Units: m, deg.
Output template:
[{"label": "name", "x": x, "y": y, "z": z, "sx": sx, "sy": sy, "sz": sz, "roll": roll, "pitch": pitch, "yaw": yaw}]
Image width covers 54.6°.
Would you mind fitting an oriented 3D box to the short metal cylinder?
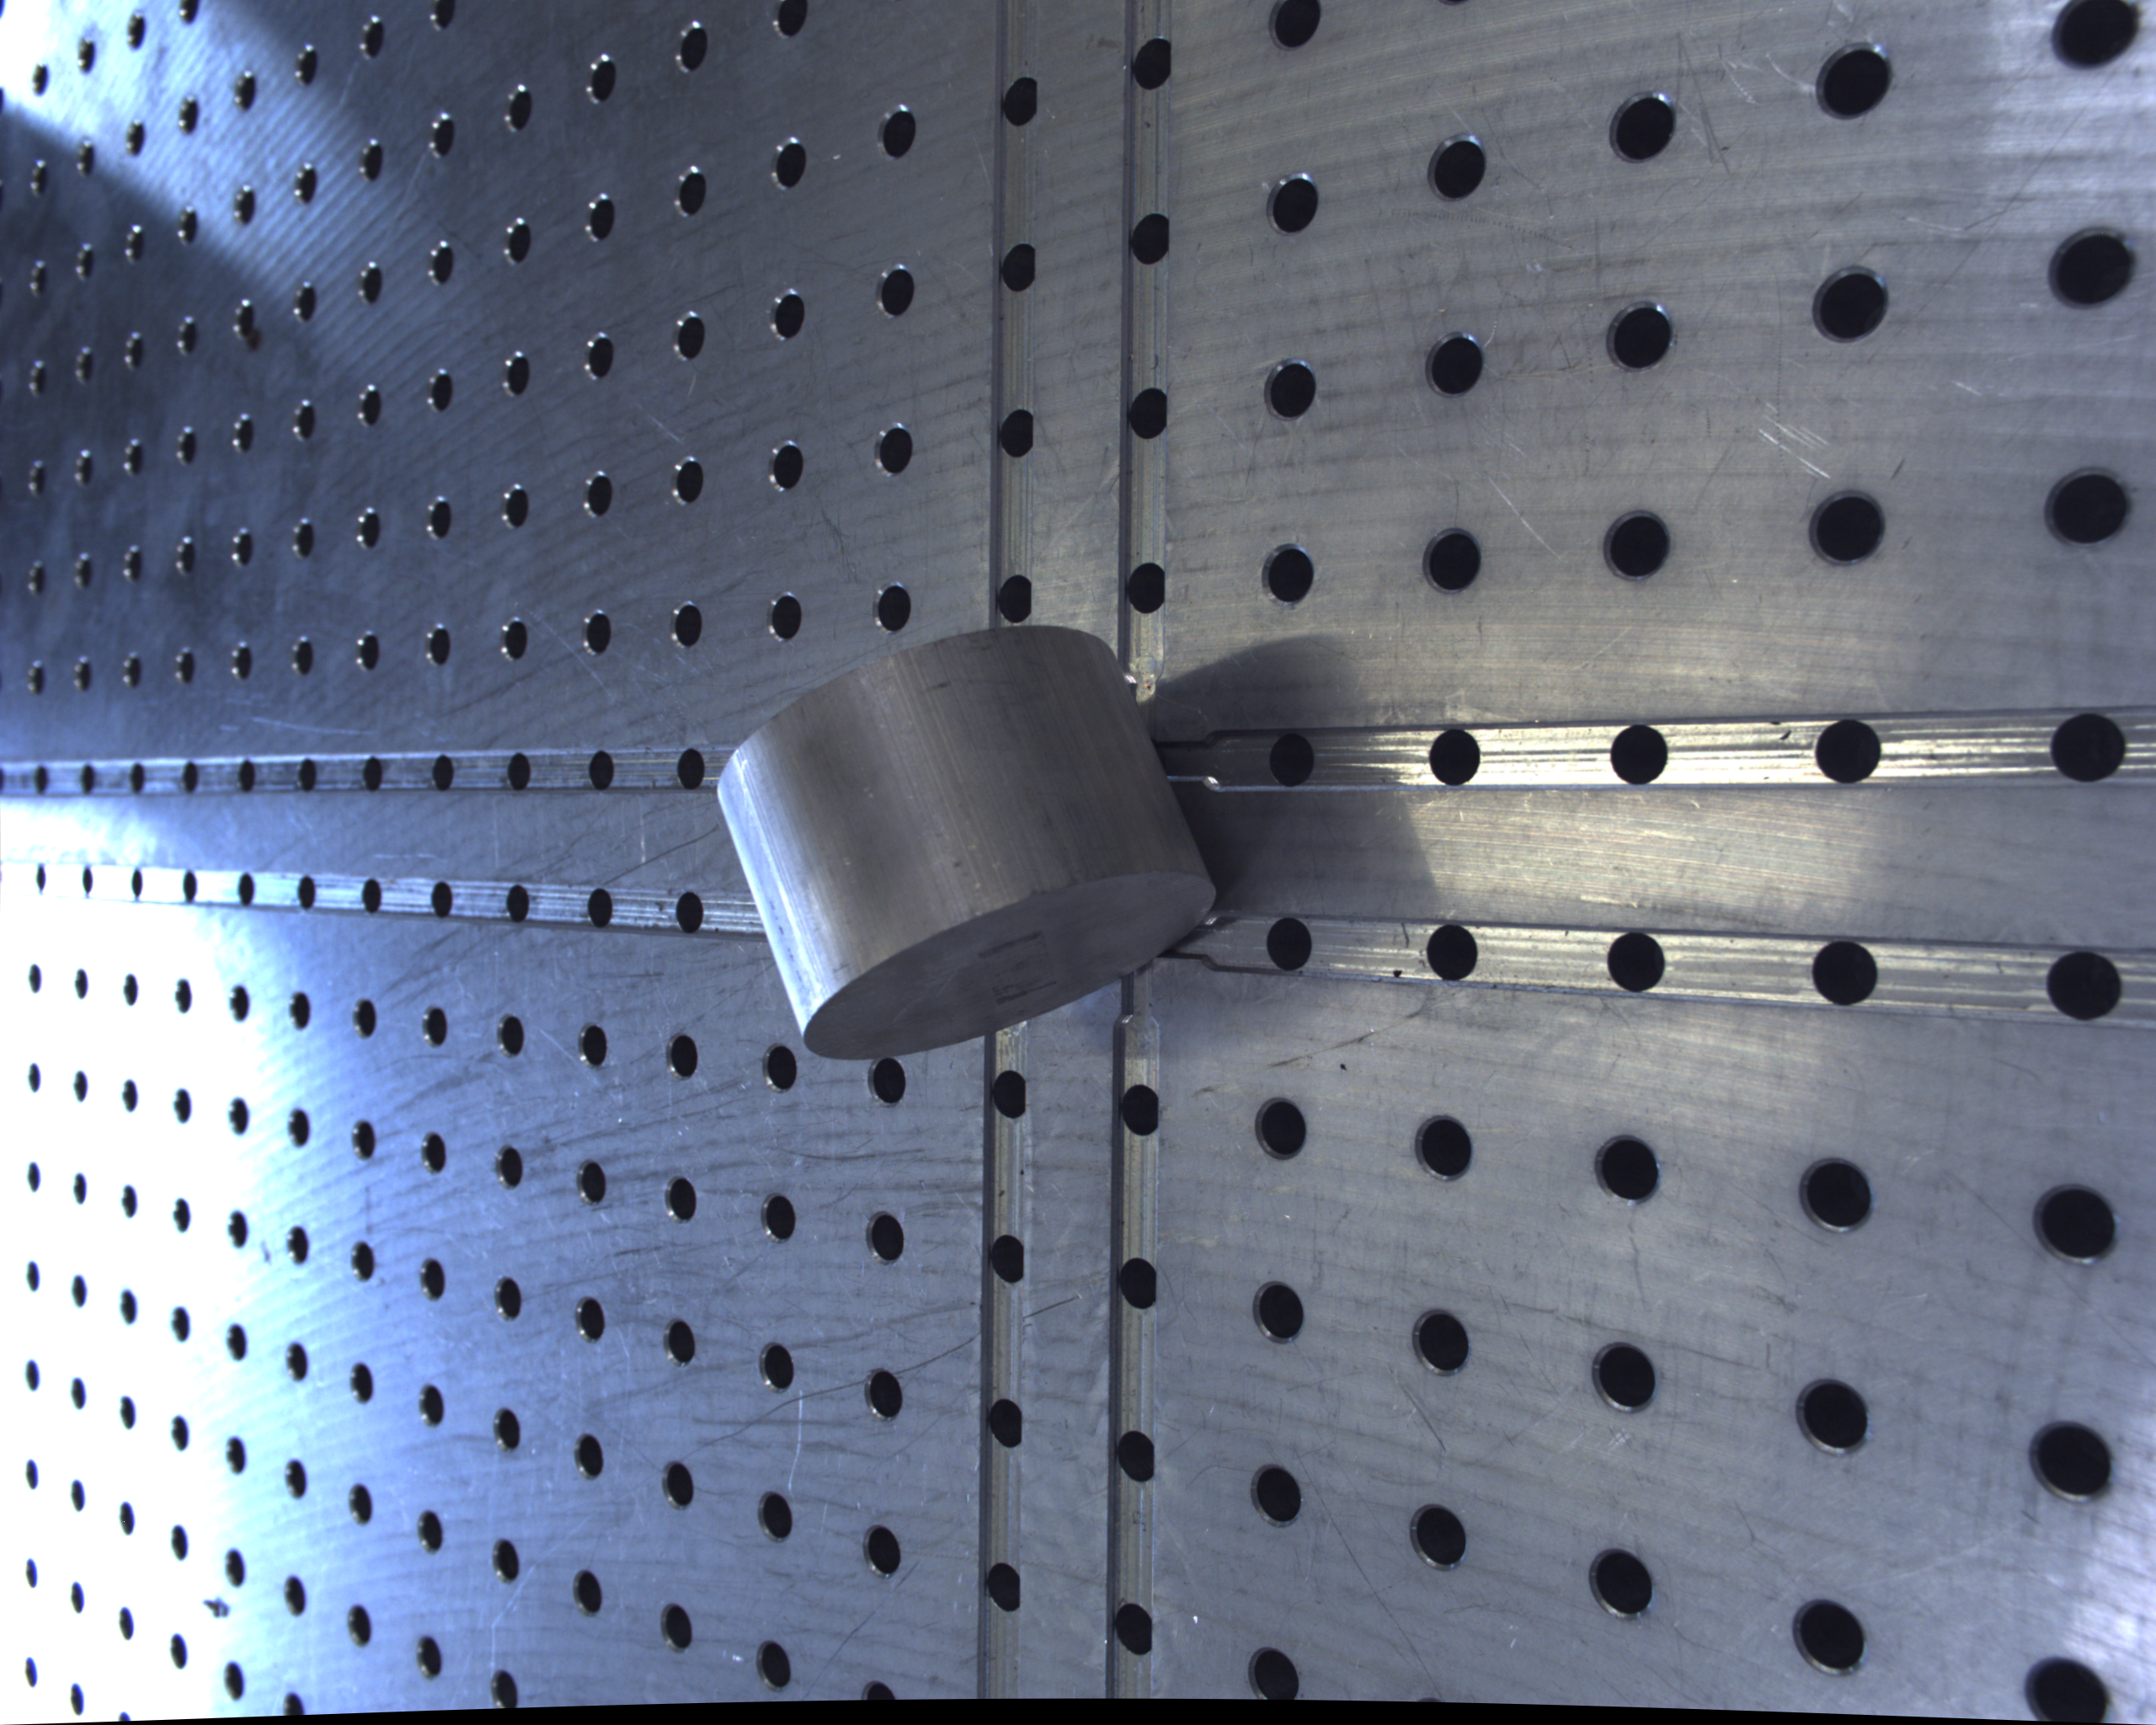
[{"label": "short metal cylinder", "x": -0.021, "y": -0.002, "z": 0.391, "sx": 0.080, "sy": 0.081, "sz": 0.050, "roll": -35, "pitch": 68, "yaw": 35}]
